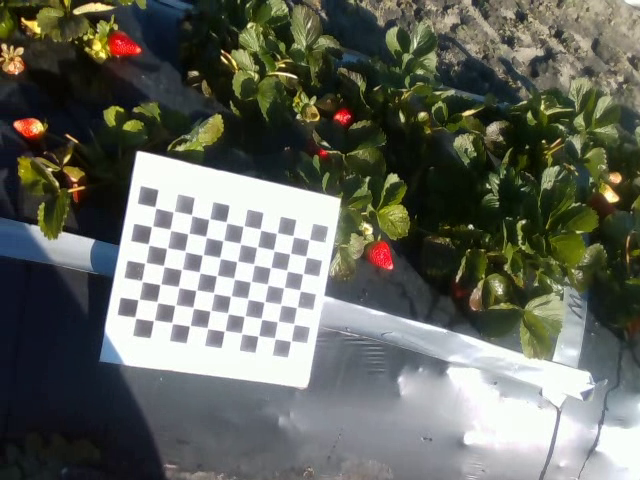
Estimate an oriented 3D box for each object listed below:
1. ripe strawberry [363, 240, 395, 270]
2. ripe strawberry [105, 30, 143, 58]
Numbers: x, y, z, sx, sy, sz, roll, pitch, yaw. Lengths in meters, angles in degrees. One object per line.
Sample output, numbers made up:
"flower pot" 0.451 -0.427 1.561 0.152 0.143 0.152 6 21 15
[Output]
"ripe strawberry" 0.098 0.027 0.961 0.048 0.055 0.029 -35 10 -11
"ripe strawberry" -0.325 -0.320 1.010 0.064 0.050 0.052 18 -2 -6
